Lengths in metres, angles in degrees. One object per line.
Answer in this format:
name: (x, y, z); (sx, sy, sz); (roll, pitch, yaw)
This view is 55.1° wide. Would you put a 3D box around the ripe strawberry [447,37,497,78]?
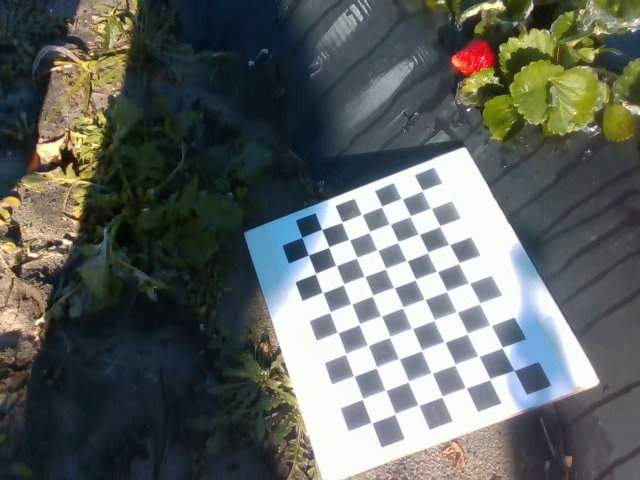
ripe strawberry: (0.143, -0.172, 0.576); (0.052, 0.042, 0.047); (-7, -34, -35)
